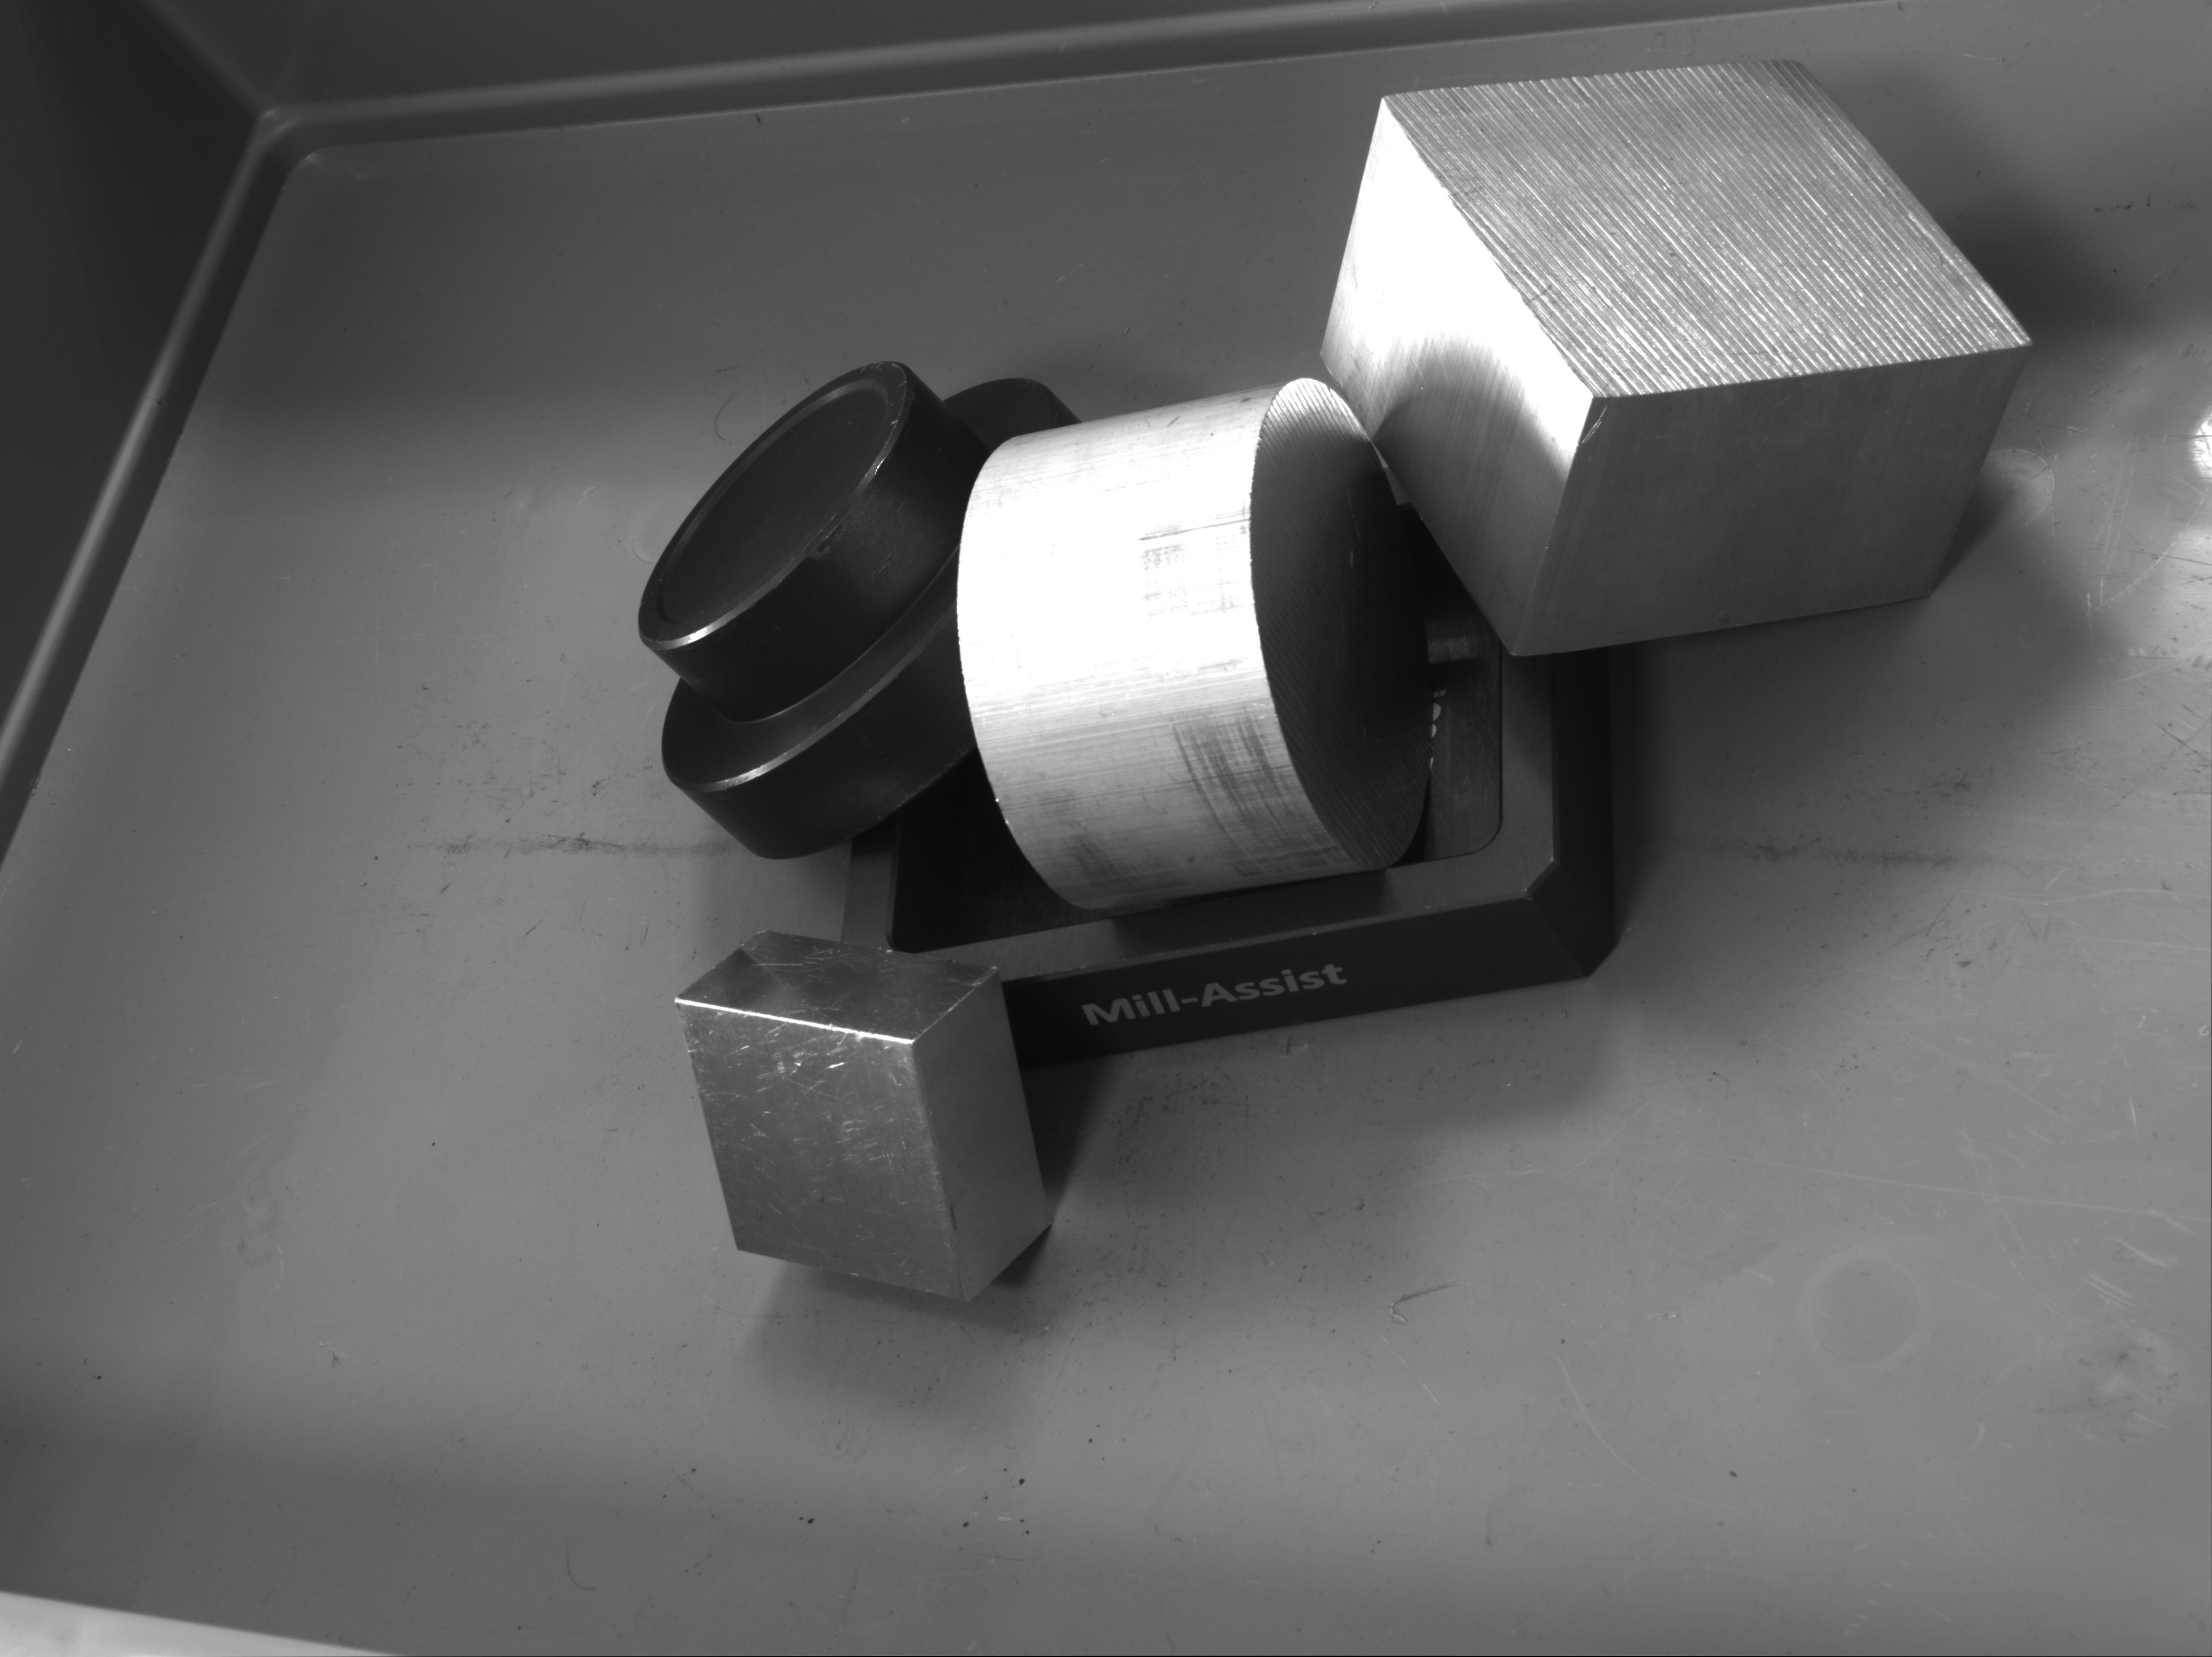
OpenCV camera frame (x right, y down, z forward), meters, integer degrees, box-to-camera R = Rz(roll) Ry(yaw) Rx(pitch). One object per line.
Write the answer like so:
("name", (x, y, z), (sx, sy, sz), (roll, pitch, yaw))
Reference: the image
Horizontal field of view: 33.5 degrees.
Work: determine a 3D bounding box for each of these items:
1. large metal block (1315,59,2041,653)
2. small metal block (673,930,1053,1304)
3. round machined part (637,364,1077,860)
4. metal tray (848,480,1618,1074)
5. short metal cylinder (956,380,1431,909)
("large metal block", (0.091, -0.079, 0.602), (0.080, 0.050, 0.080), (-10, 48, -22))
("small metal block", (-0.041, 0.048, 0.617), (0.050, 0.050, 0.025), (8, 31, 33))
("round machined part", (-0.046, -0.045, 0.661), (0.098, 0.042, 0.098), (-37, 25, 21))
("metal tray", (0.021, -0.010, 0.637), (0.130, 0.030, 0.090), (-11, 57, 23))
("short metal cylinder", (0.016, -0.029, 0.602), (0.050, 0.080, 0.080), (-8, 58, 23))
